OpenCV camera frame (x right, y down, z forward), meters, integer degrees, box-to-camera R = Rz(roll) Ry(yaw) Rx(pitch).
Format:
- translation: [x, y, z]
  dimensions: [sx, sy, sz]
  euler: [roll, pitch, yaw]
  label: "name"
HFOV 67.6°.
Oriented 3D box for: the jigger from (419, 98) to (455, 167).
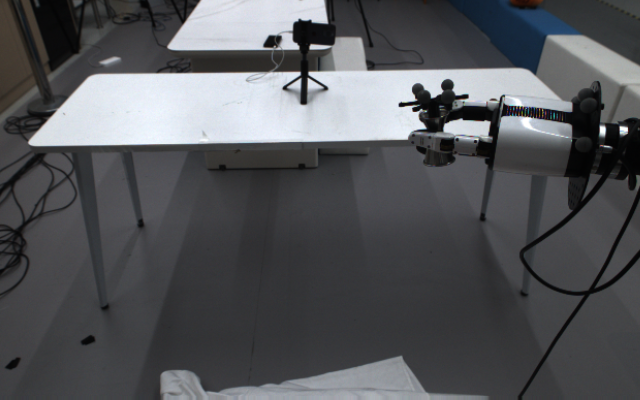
- translation: [0.159, -0.086, 0.661]
  dimensions: [0.043, 0.071, 0.043]
  euler: [-11, 23, 5]
  label: "jigger"
